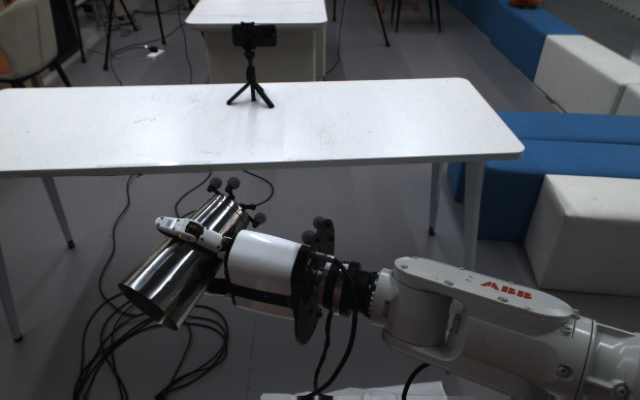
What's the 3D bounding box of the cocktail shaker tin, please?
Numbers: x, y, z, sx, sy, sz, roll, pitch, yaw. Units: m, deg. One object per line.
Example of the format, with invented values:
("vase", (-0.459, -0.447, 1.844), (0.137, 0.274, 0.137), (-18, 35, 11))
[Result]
("cocktail shaker tin", (-0.167, 0.070, 0.633), (0.093, 0.093, 0.170), (19, 54, 23))
